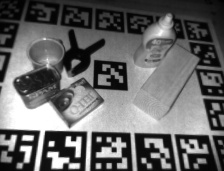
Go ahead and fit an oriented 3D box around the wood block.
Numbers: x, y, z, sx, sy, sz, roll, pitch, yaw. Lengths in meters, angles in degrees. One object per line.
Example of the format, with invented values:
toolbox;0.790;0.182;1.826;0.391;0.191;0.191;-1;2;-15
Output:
wood block;0.160;-0.020;0.627;0.089;0.091;0.207;35;60;11

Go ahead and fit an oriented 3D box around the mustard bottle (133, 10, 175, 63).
mustard bottle;0.125;-0.139;0.618;0.097;0.191;0.058;-3;63;-10

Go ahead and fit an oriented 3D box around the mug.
mug;-0.178;-0.080;0.616;0.093;0.081;0.117;22;62;2

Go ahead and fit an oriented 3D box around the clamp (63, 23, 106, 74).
clamp;-0.099;-0.109;0.653;0.122;0.036;0.165;21;63;-2

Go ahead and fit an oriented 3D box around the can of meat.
can of meat;-0.183;0.002;0.540;0.102;0.084;0.057;-26;71;-22

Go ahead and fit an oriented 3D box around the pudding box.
pudding box;-0.089;0.038;0.572;0.114;0.038;0.089;-36;75;-27
